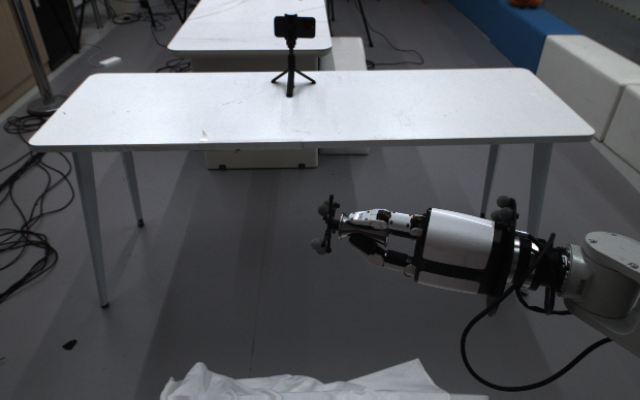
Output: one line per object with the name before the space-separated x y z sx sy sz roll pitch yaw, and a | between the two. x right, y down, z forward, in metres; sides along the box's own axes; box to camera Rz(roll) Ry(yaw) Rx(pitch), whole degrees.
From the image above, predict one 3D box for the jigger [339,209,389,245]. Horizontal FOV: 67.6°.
jigger | 0.070 0.037 0.692 0.071 0.043 0.043 7 35 12
